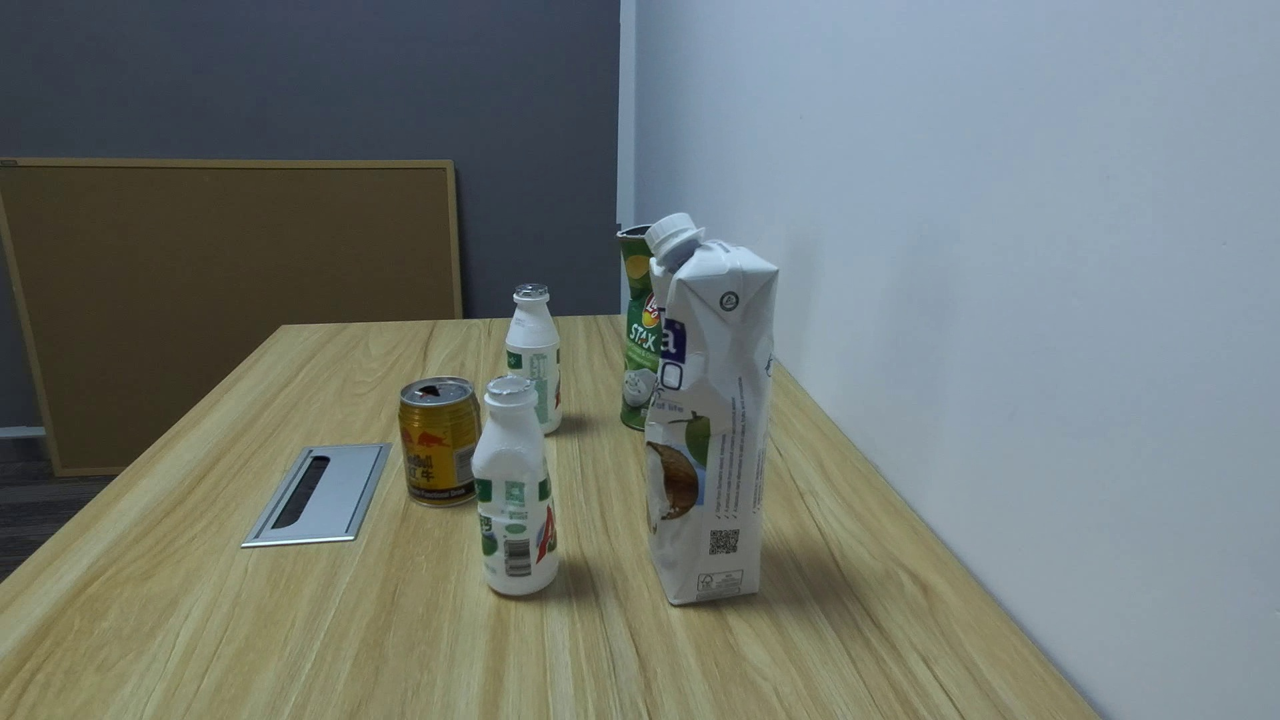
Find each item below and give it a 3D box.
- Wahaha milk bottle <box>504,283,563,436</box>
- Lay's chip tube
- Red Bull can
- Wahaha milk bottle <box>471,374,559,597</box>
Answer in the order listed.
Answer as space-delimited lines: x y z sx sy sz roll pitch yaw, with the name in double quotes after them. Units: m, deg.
-0.105 0.000 0.695 0.053 0.147 0.053 0 19 0 "Wahaha milk bottle"
0.014 -0.031 0.724 0.077 0.201 0.069 2 15 18 "Lay's chip tube"
-0.165 0.068 0.595 0.067 0.093 0.067 -1 19 1 "Red Bull can"
-0.084 0.084 0.474 0.055 0.149 0.055 -1 21 1 "Wahaha milk bottle"
